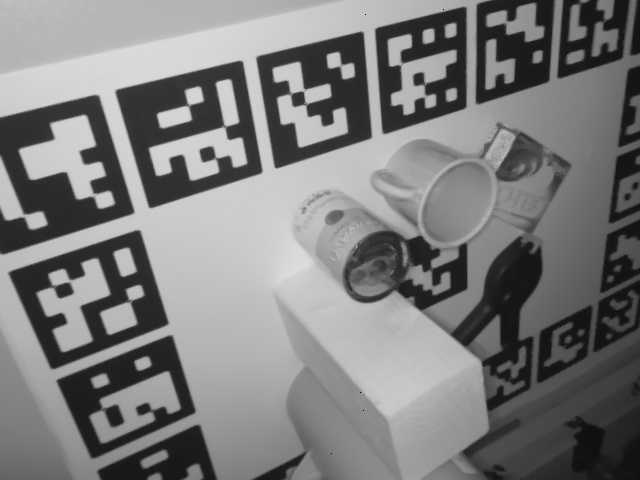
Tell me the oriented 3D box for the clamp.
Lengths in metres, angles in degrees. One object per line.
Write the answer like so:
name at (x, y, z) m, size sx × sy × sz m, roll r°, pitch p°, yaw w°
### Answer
clamp at (0.255, 0.078, 0.826) m, size 0.123 × 0.036 × 0.164 m, roll 10°, pitch 108°, yaw -25°

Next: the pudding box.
pudding box at (0.251, -0.063, 0.748) m, size 0.115 × 0.038 × 0.089 m, roll 17°, pitch 101°, yaw -35°

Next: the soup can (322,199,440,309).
soup can at (0.052, 0.009, 0.628) m, size 0.069 × 0.101 × 0.067 m, roll -11°, pitch 116°, yaw -23°

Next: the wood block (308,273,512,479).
wood block at (0.074, 0.112, 0.626) m, size 0.091 × 0.205 × 0.090 m, roll -22°, pitch 123°, yaw -13°

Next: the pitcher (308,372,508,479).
pitcher at (0.078, 0.230, 0.666) m, size 0.191 × 0.241 × 0.132 m, roll -23°, pitch 125°, yaw -20°

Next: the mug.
mug at (0.127, -0.044, 0.658) m, size 0.119 × 0.081 × 0.092 m, roll 15°, pitch 108°, yaw -35°
